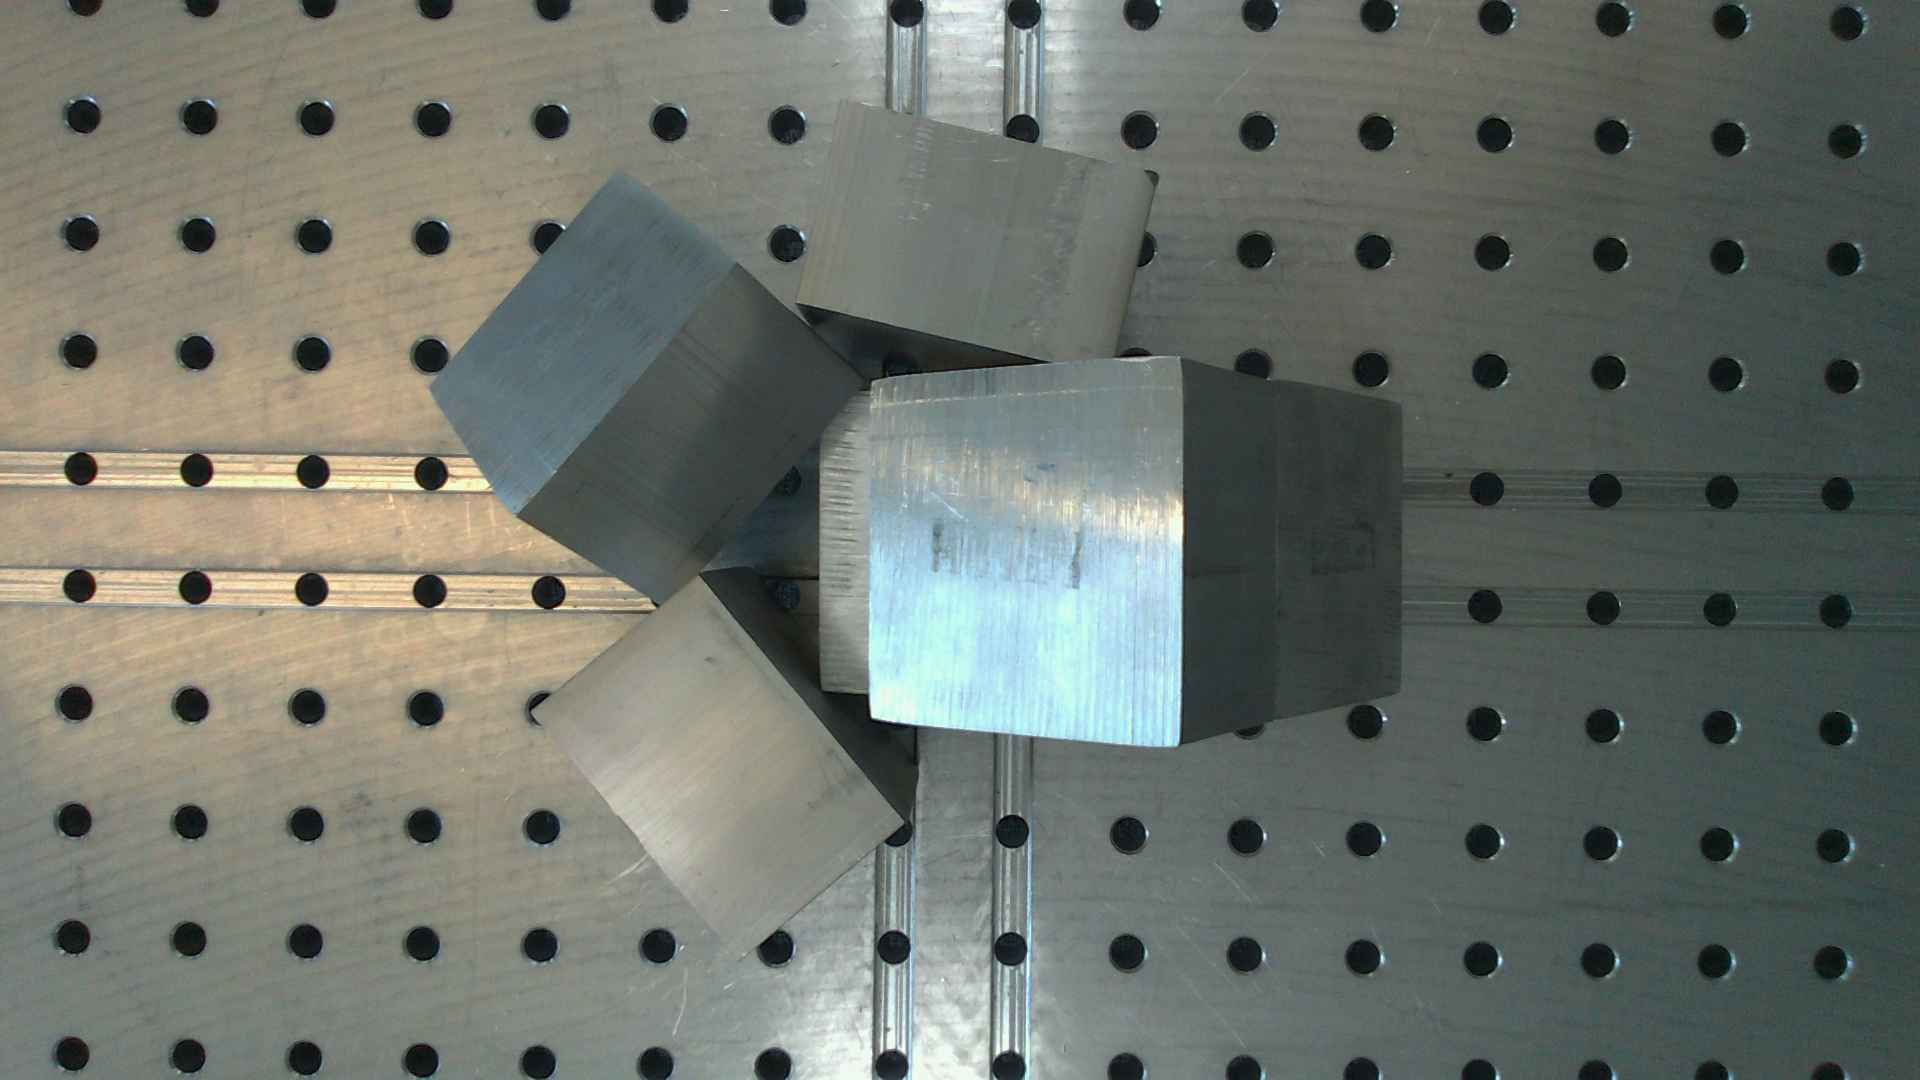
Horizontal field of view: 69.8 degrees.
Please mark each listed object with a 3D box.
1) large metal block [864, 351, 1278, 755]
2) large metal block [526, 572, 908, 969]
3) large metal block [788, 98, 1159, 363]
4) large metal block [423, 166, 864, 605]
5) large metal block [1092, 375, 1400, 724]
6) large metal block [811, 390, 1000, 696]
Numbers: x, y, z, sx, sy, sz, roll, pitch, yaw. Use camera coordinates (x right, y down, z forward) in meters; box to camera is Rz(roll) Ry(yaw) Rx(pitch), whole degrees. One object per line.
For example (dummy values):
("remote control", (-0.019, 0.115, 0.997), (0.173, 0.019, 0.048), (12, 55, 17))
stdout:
("large metal block", (0.025, 0.003, 0.316), (0.080, 0.050, 0.080), (0, 89, 34))
("large metal block", (-0.059, 0.056, 0.369), (0.050, 0.080, 0.080), (-40, 91, 0))
("large metal block", (0.004, -0.073, 0.370), (0.080, 0.080, 0.050), (13, 90, 0))
("large metal block", (-0.085, -0.041, 0.363), (0.080, 0.080, 0.050), (-49, 134, 0))
("large metal block", (0.077, 0.002, 0.362), (0.050, 0.080, 0.080), (0, 90, 38))
("large metal block", (0.002, 0.001, 0.385), (0.080, 0.050, 0.080), (1, 90, 0))
